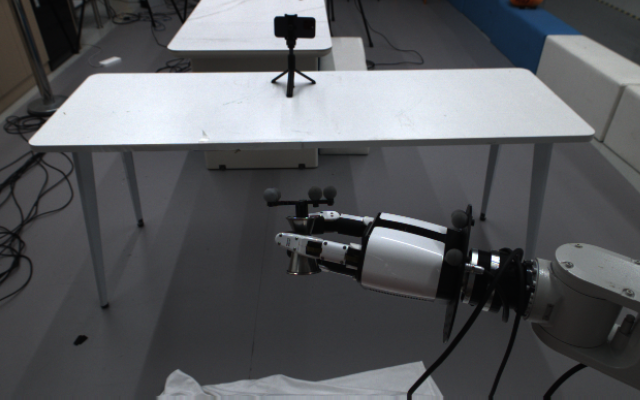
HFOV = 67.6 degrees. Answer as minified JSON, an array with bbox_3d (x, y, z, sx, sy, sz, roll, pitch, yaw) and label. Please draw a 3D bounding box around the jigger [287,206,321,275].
[{"bbox_3d":[-0.021,0.053,0.590,0.043,0.071,0.043,-2,3,0],"label":"jigger"}]
